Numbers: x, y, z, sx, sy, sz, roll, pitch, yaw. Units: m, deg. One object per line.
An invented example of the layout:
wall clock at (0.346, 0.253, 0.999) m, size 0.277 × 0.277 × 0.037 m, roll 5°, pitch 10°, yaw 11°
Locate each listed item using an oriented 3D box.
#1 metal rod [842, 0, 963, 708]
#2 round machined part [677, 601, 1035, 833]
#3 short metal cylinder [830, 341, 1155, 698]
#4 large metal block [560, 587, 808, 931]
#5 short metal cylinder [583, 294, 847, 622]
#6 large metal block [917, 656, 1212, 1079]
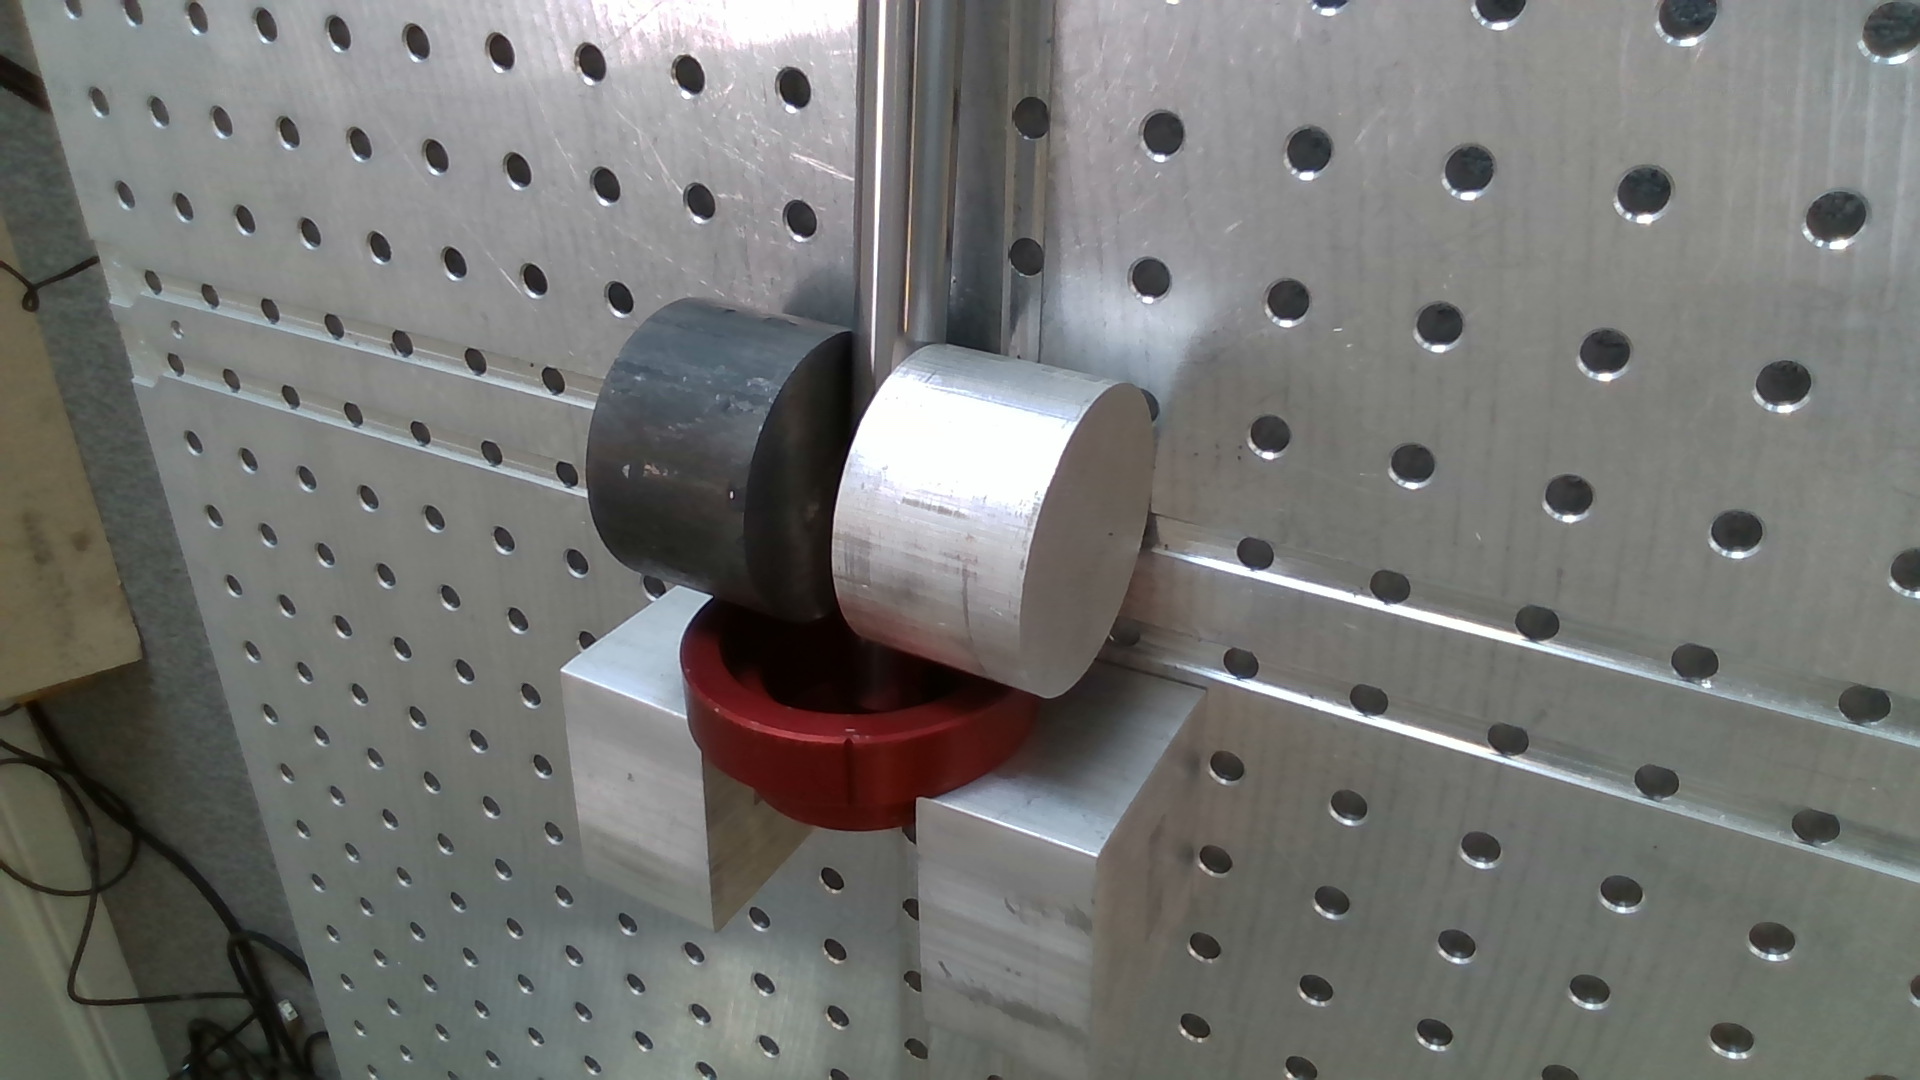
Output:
metal rod at (-0.014, -0.093, 0.334) m, size 0.025 × 0.025 × 0.301 m, roll 16°, pitch 118°, yaw 24°
round machined part at (-0.027, 0.044, 0.385) m, size 0.098 × 0.098 × 0.042 m, roll 15°, pitch 122°, yaw 24°
short metal cylinder at (0.011, -0.006, 0.347) m, size 0.050 × 0.080 × 0.080 m, roll 15°, pitch 122°, yaw 25°
large metal block at (-0.076, 0.060, 0.437) m, size 0.050 × 0.080 × 0.080 m, roll 17°, pitch 123°, yaw 23°
short metal cylinder at (-0.056, -0.023, 0.377) m, size 0.050 × 0.080 × 0.080 m, roll 16°, pitch 122°, yaw 25°
large metal block at (0.030, 0.087, 0.387) m, size 0.050 × 0.080 × 0.080 m, roll 14°, pitch 122°, yaw 25°
